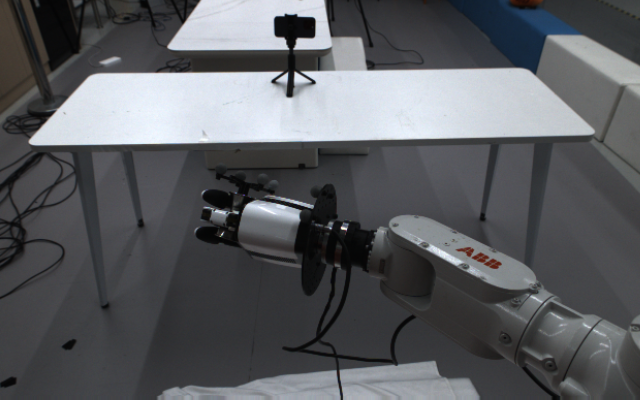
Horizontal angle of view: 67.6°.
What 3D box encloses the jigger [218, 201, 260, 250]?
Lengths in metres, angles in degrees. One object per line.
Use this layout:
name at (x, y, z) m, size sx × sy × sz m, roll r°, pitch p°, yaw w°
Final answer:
jigger at (-0.121, 0.025, 0.709) m, size 0.043 × 0.071 × 0.043 m, roll 15°, pitch -7°, yaw 2°
